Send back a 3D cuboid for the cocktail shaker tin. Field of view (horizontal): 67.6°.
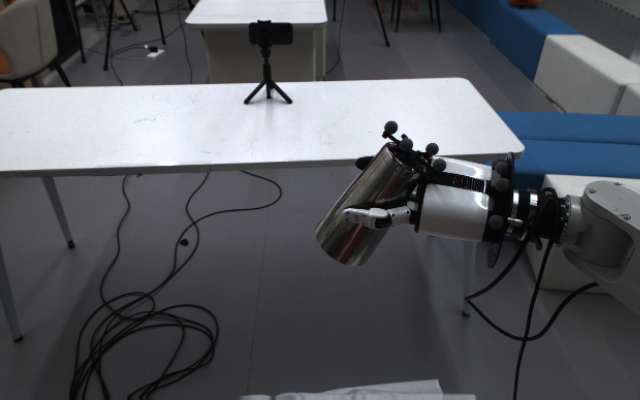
[{"bbox_3d":[0.074,-0.001,0.688,0.093,0.170,0.093,26,32,-17],"label":"cocktail shaker tin"}]
